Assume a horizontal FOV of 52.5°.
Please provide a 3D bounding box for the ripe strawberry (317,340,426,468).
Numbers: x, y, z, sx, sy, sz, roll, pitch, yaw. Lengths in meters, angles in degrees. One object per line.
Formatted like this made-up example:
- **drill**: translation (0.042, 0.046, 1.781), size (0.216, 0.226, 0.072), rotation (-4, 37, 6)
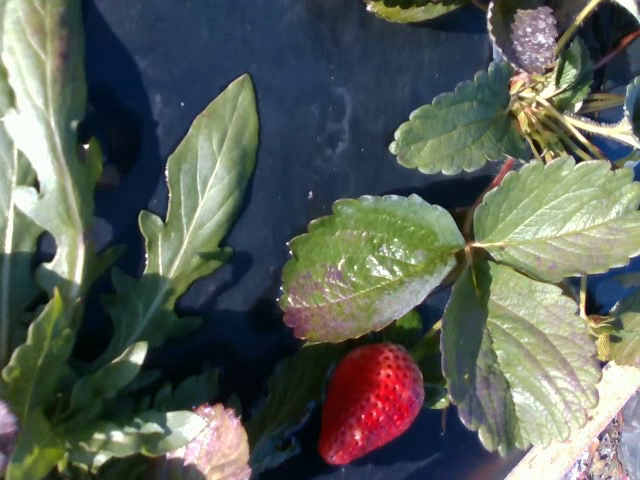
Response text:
- **ripe strawberry**: translation (0.013, 0.052, 0.200), size (0.036, 0.044, 0.054), rotation (39, 41, 18)
